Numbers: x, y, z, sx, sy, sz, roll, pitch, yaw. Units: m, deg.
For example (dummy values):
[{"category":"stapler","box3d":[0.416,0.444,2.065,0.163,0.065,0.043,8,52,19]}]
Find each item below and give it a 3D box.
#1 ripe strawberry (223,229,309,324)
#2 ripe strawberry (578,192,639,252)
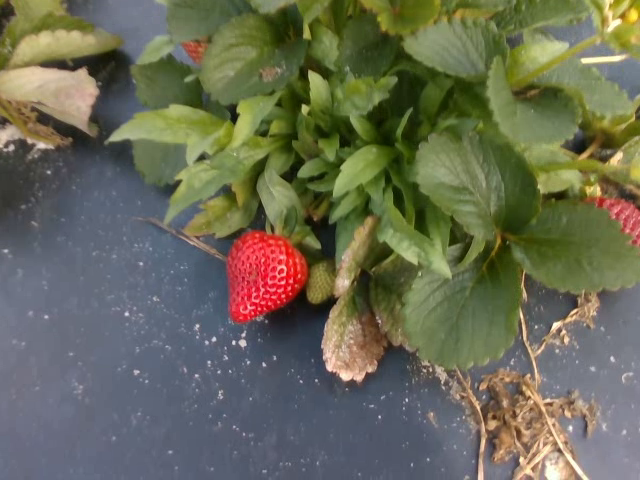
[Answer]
[{"category":"ripe strawberry","box3d":[-0.028,0.019,0.283,0.043,0.050,0.042,20,-24,9]},{"category":"ripe strawberry","box3d":[0.134,0.001,0.274,0.046,0.043,0.047,37,4,38]}]
